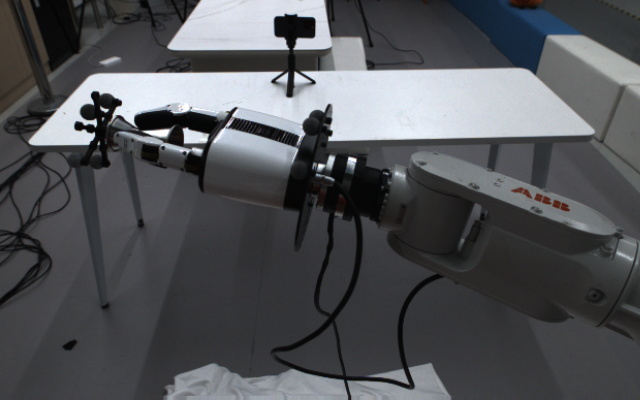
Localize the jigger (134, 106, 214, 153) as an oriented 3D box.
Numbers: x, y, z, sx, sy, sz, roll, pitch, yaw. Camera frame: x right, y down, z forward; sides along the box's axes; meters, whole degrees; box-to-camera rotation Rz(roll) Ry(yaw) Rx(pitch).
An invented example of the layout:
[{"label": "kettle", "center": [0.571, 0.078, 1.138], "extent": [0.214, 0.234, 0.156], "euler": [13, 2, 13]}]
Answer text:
[{"label": "jigger", "center": [-0.180, -0.068, 0.521], "extent": [0.071, 0.043, 0.043], "euler": [11, 35, 5]}]
